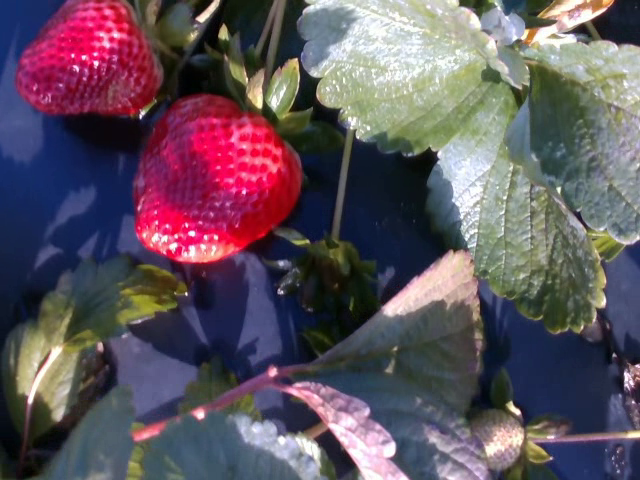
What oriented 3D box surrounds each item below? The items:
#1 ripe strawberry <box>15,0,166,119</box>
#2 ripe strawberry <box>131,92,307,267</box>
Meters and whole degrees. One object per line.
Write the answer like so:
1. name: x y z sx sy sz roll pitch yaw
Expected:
1. ripe strawberry: -0.074 -0.053 0.183 0.043 0.051 0.036 14 -34 27
2. ripe strawberry: -0.034 -0.015 0.178 0.052 0.057 0.046 23 -32 24
